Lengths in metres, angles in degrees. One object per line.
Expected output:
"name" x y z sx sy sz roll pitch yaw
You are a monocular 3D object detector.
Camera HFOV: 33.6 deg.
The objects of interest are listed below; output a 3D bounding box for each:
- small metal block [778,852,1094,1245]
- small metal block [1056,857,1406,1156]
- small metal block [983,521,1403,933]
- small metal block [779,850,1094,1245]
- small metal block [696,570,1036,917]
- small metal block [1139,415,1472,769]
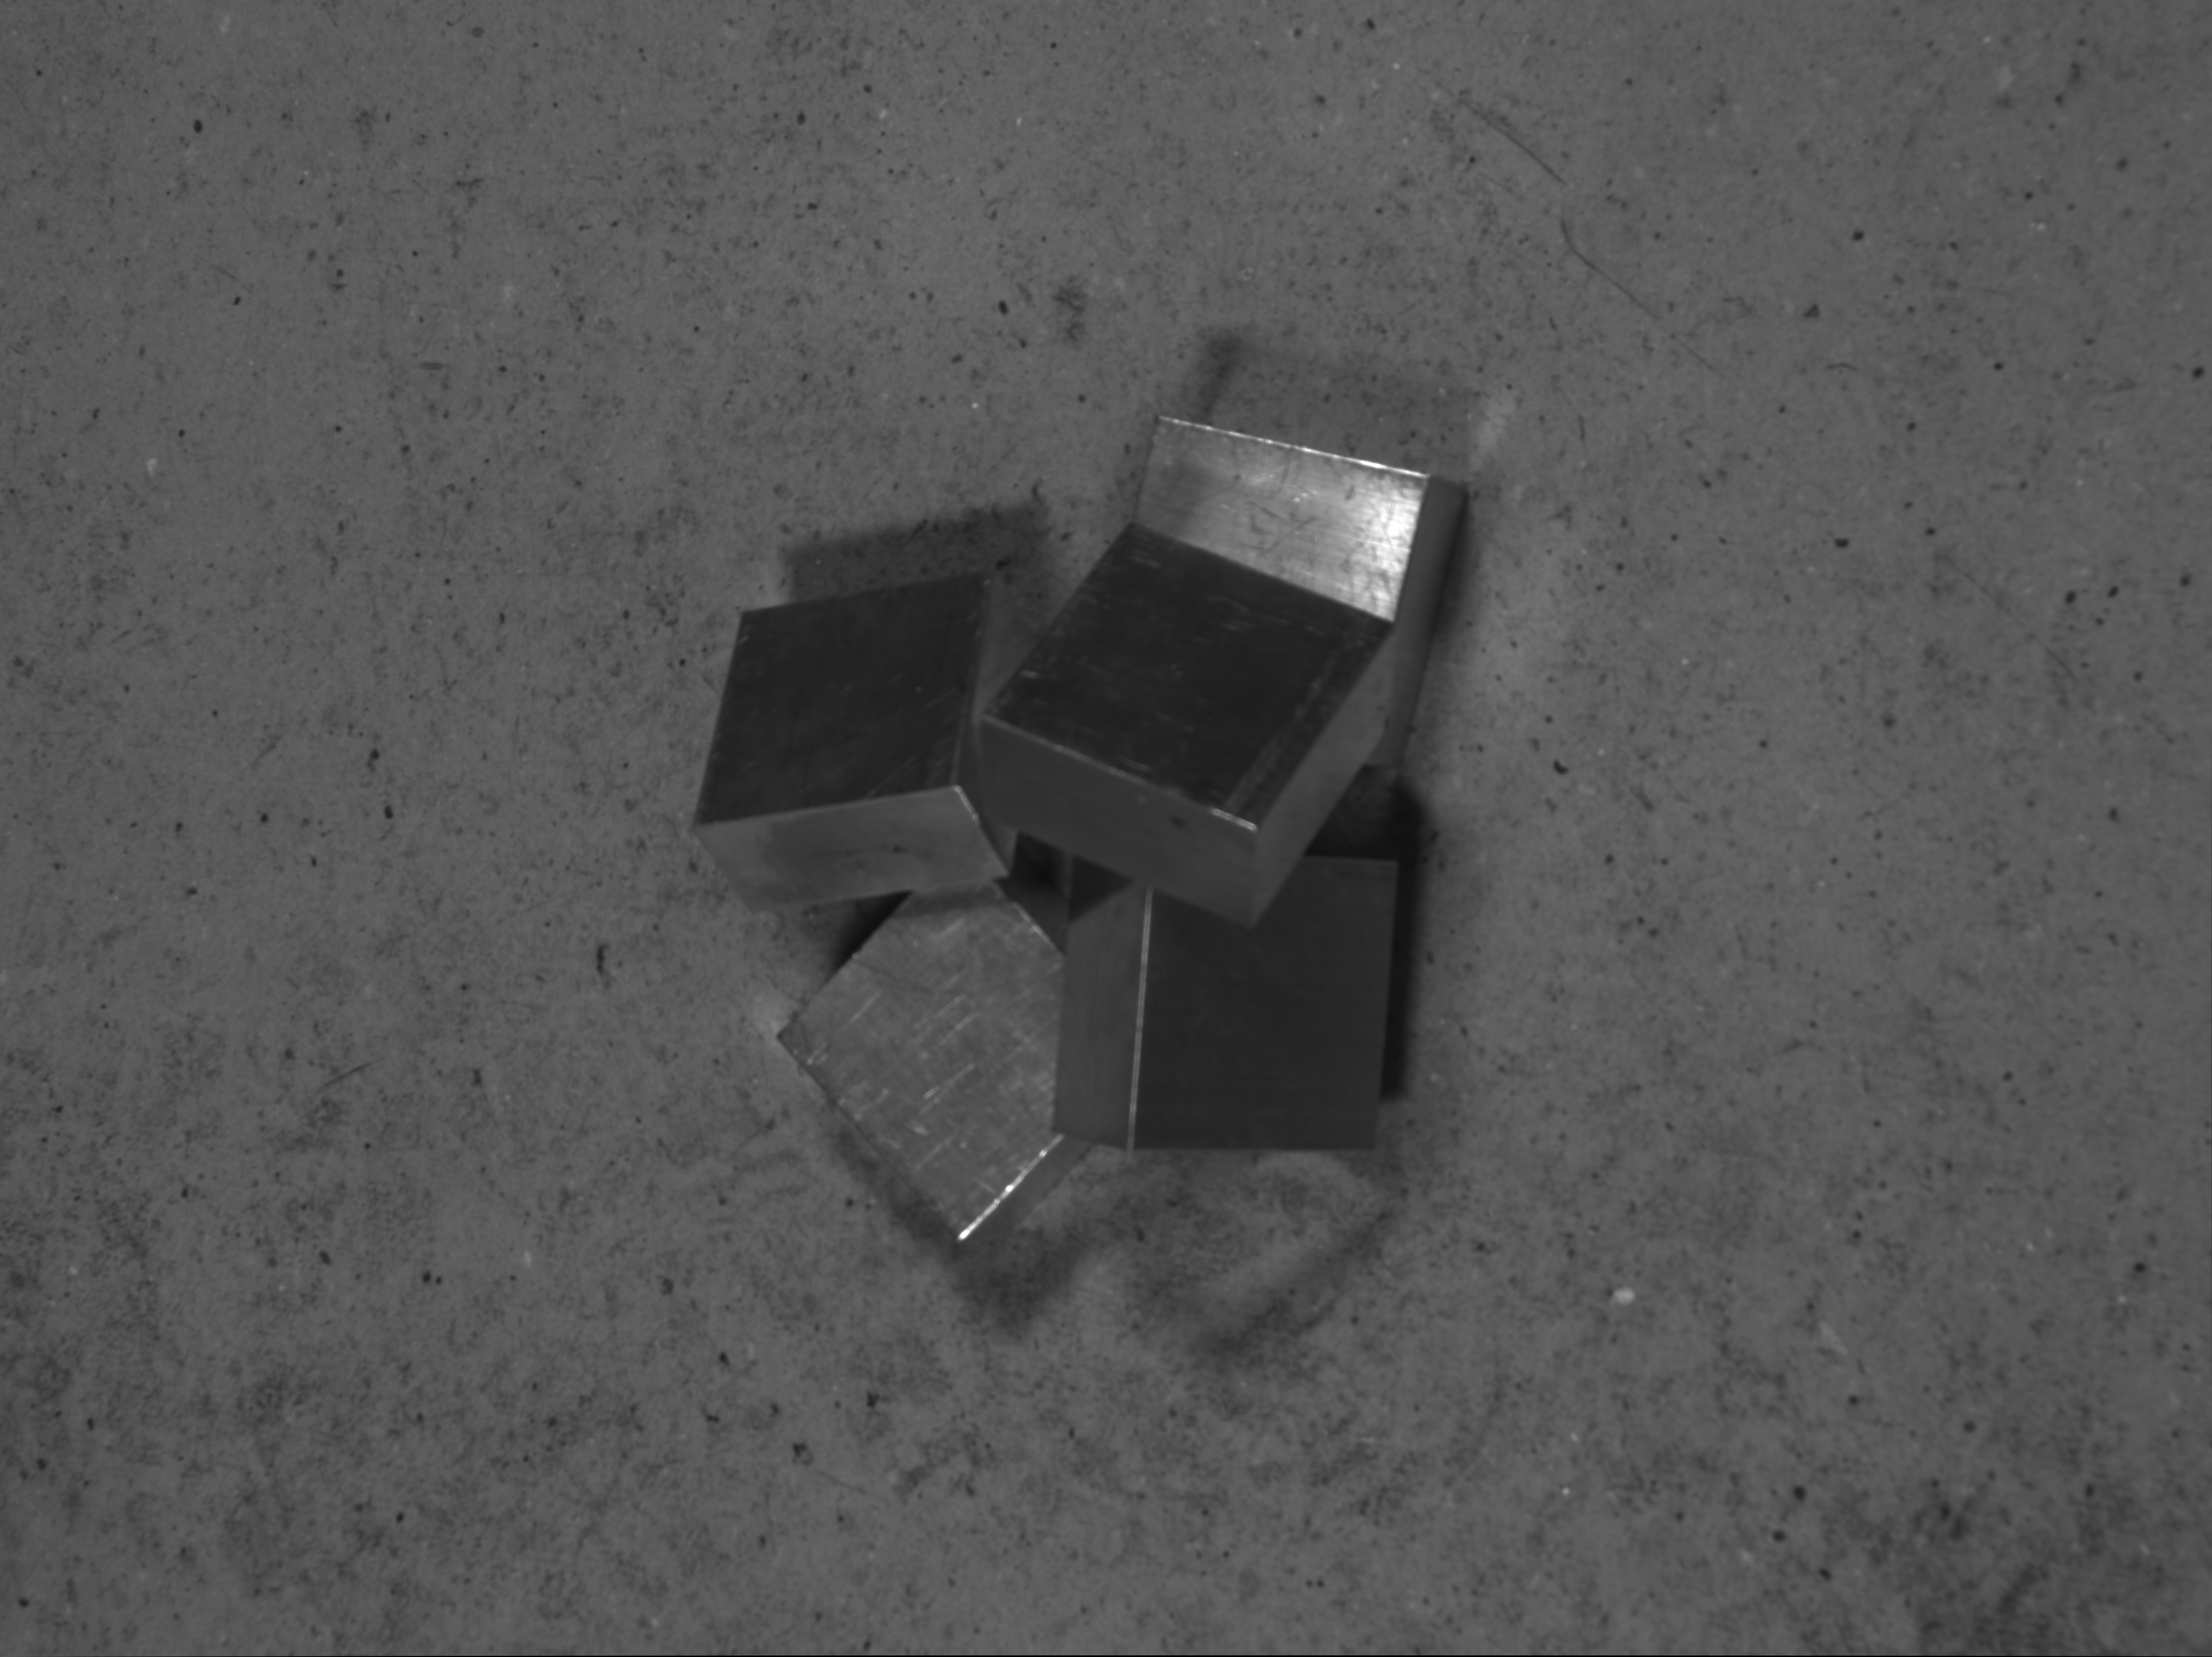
"small metal block" -0.021 0.038 0.652 0.050 0.025 0.050 -47 75 14
"small metal block" 0.021 0.029 0.621 0.025 0.050 0.050 6 92 58
"small metal block" 0.014 -0.017 0.598 0.050 0.025 0.050 23 54 18
"small metal block" -0.021 0.038 0.652 0.050 0.025 0.050 -47 76 14
"small metal block" -0.040 -0.015 0.646 0.050 0.025 0.050 -8 49 19
"small metal block" 0.031 -0.041 0.634 0.050 0.025 0.050 15 95 19
